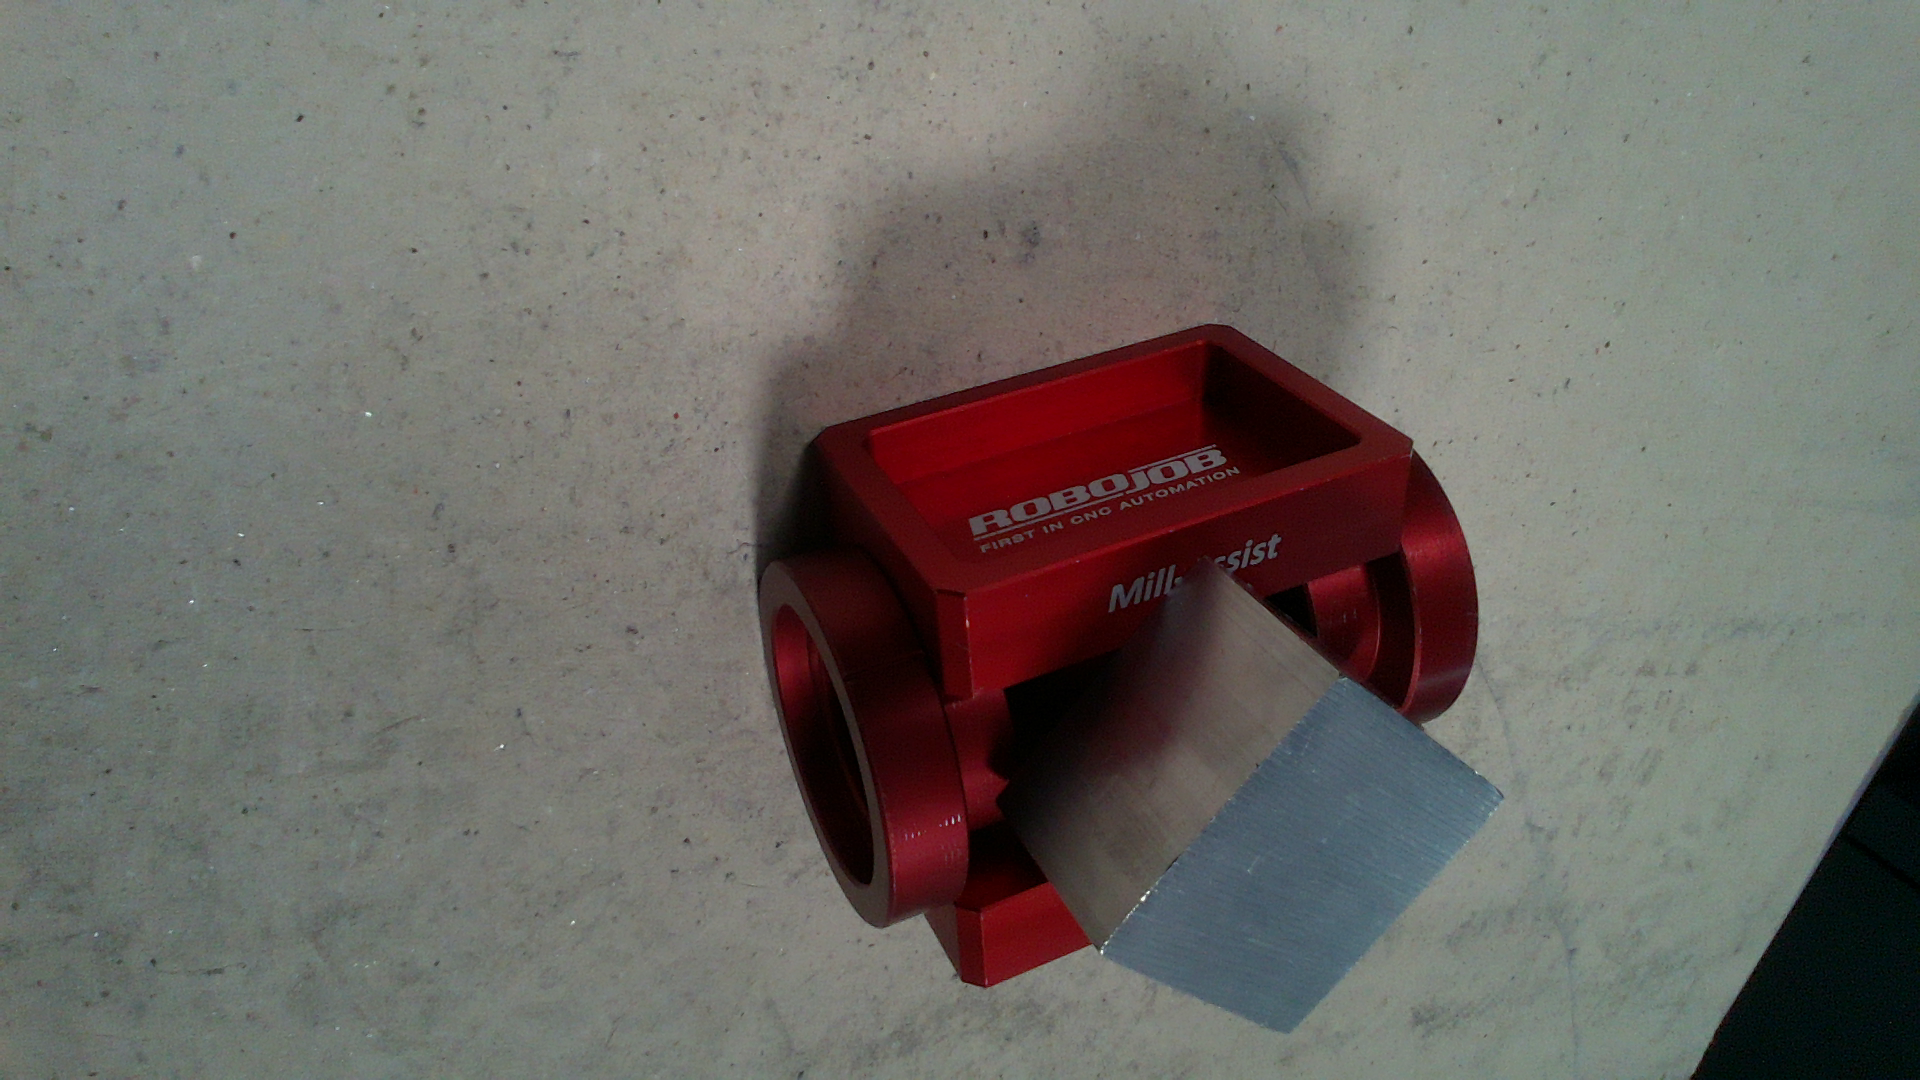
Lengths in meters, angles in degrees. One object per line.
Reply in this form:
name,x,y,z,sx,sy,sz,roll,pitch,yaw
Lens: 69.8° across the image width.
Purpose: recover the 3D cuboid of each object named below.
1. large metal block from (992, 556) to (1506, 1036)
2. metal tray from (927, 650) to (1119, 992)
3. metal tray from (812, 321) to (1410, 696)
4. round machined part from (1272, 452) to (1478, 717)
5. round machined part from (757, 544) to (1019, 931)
large metal block,0.070,0.063,0.331,0.080,0.050,0.080,33,100,-38
metal tray,0.042,0.071,0.412,0.130,0.090,0.030,-16,125,-19
metal tray,0.037,-0.014,0.360,0.130,0.090,0.030,-17,125,-19
round machined part,0.101,0.013,0.405,0.042,0.098,0.098,-15,124,-20
round machined part,-0.018,0.048,0.362,0.042,0.098,0.098,-15,124,-20
